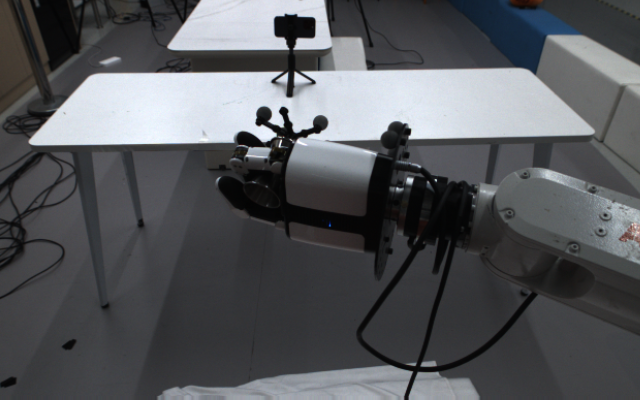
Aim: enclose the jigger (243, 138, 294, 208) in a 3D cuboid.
[{"bbox_3d":[-0.046,-0.030,0.523,0.043,0.043,0.071,13,58,16],"label":"jigger"}]
